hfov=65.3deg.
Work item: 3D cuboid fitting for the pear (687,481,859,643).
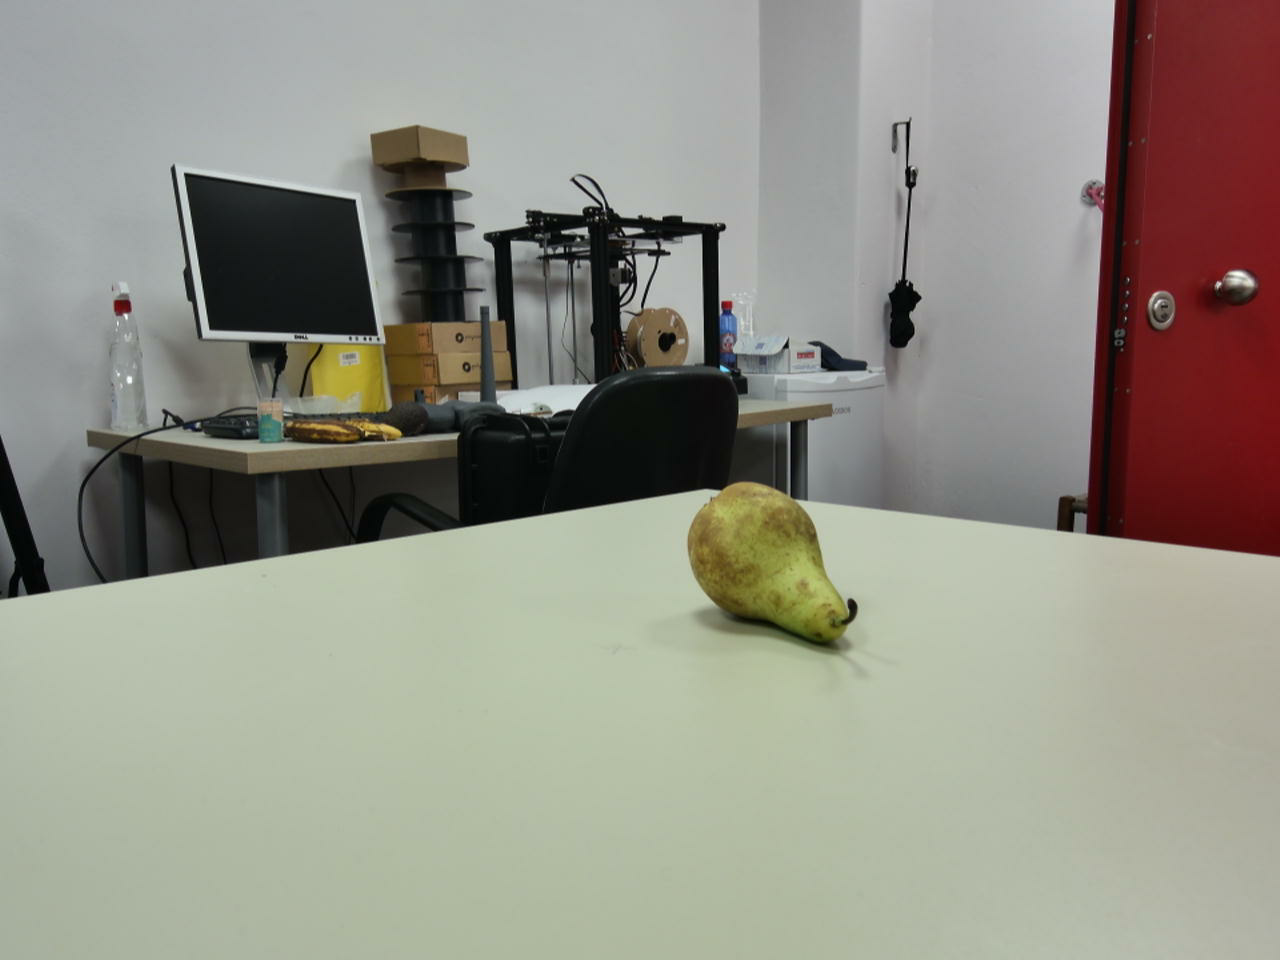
[{"bbox_3d":[0.083,0.042,0.533,0.071,0.075,0.144,-4,7,-35],"label":"pear"}]
